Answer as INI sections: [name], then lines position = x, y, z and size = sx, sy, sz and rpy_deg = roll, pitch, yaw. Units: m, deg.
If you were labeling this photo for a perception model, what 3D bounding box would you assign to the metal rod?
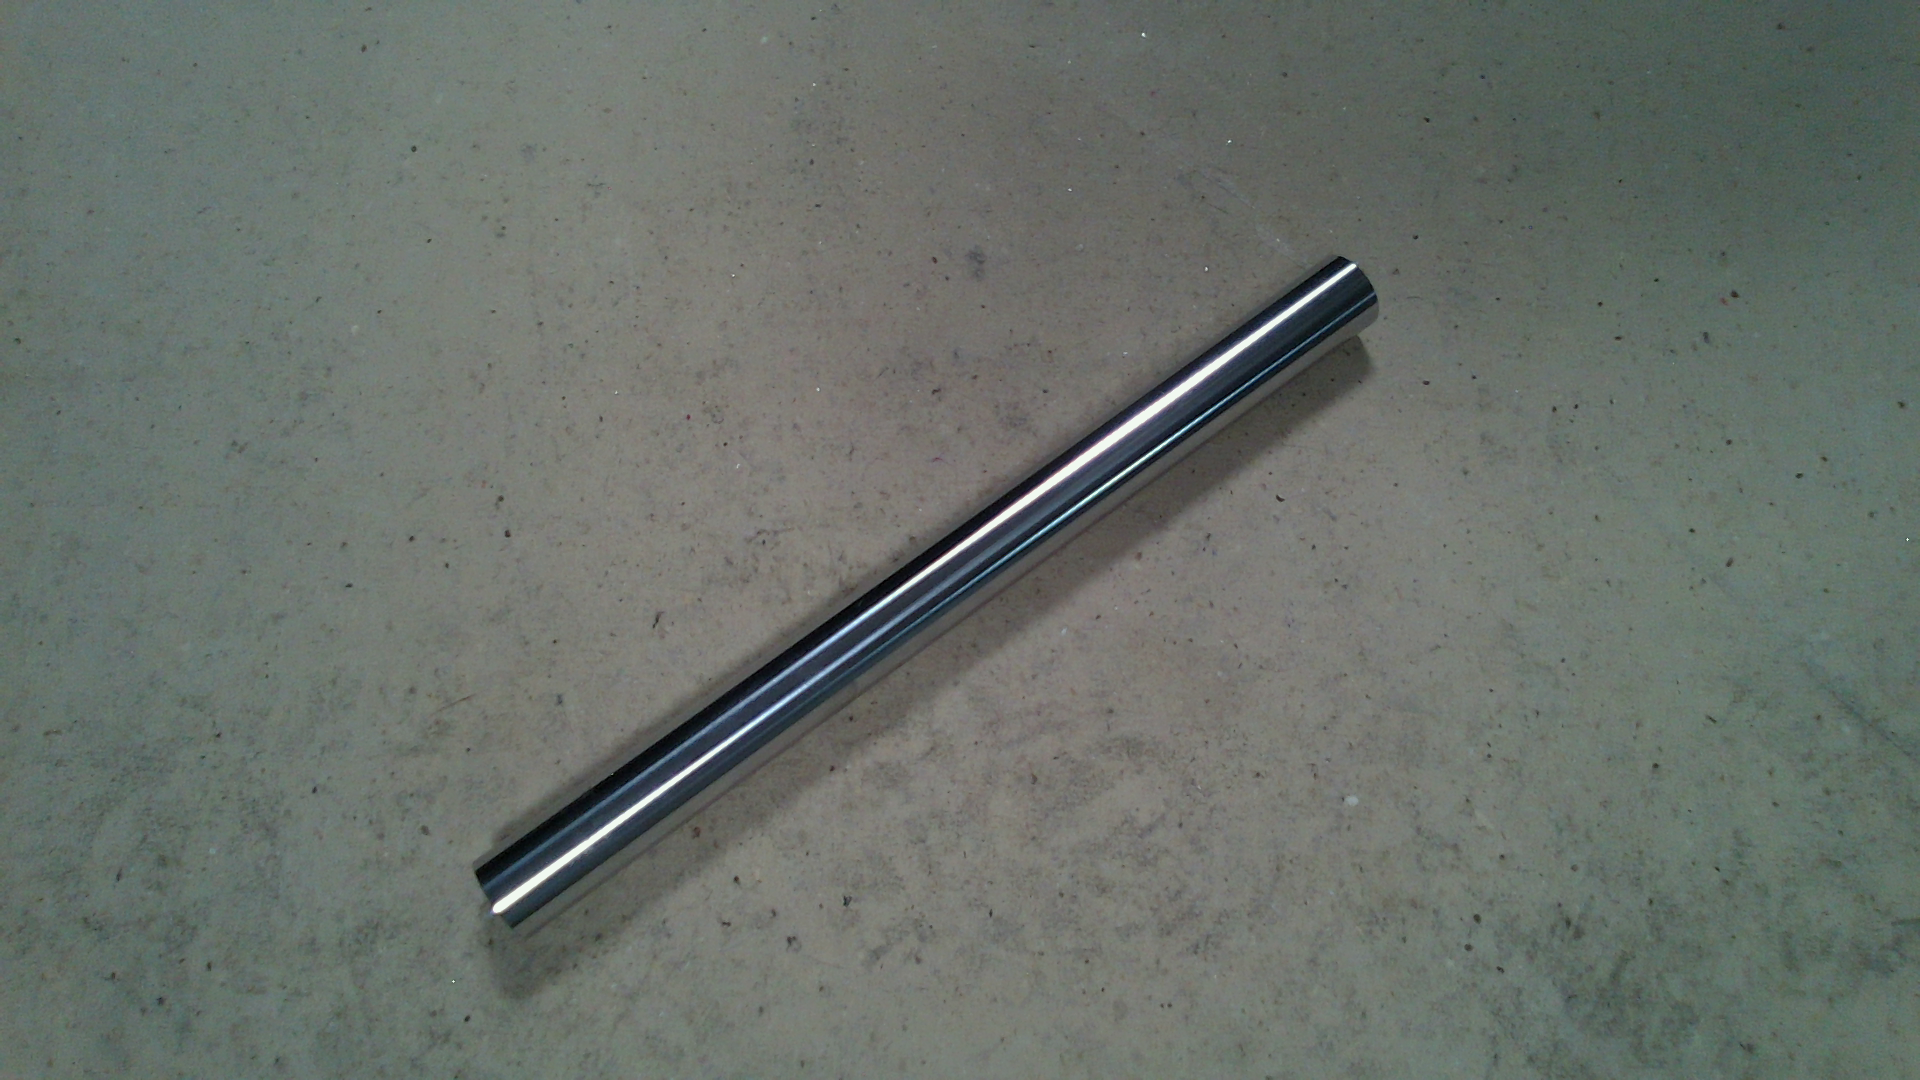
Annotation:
[metal rod]
position = 0.000, 0.008, 0.392
size = 0.300, 0.025, 0.025
rpy_deg = -36, 74, -12
